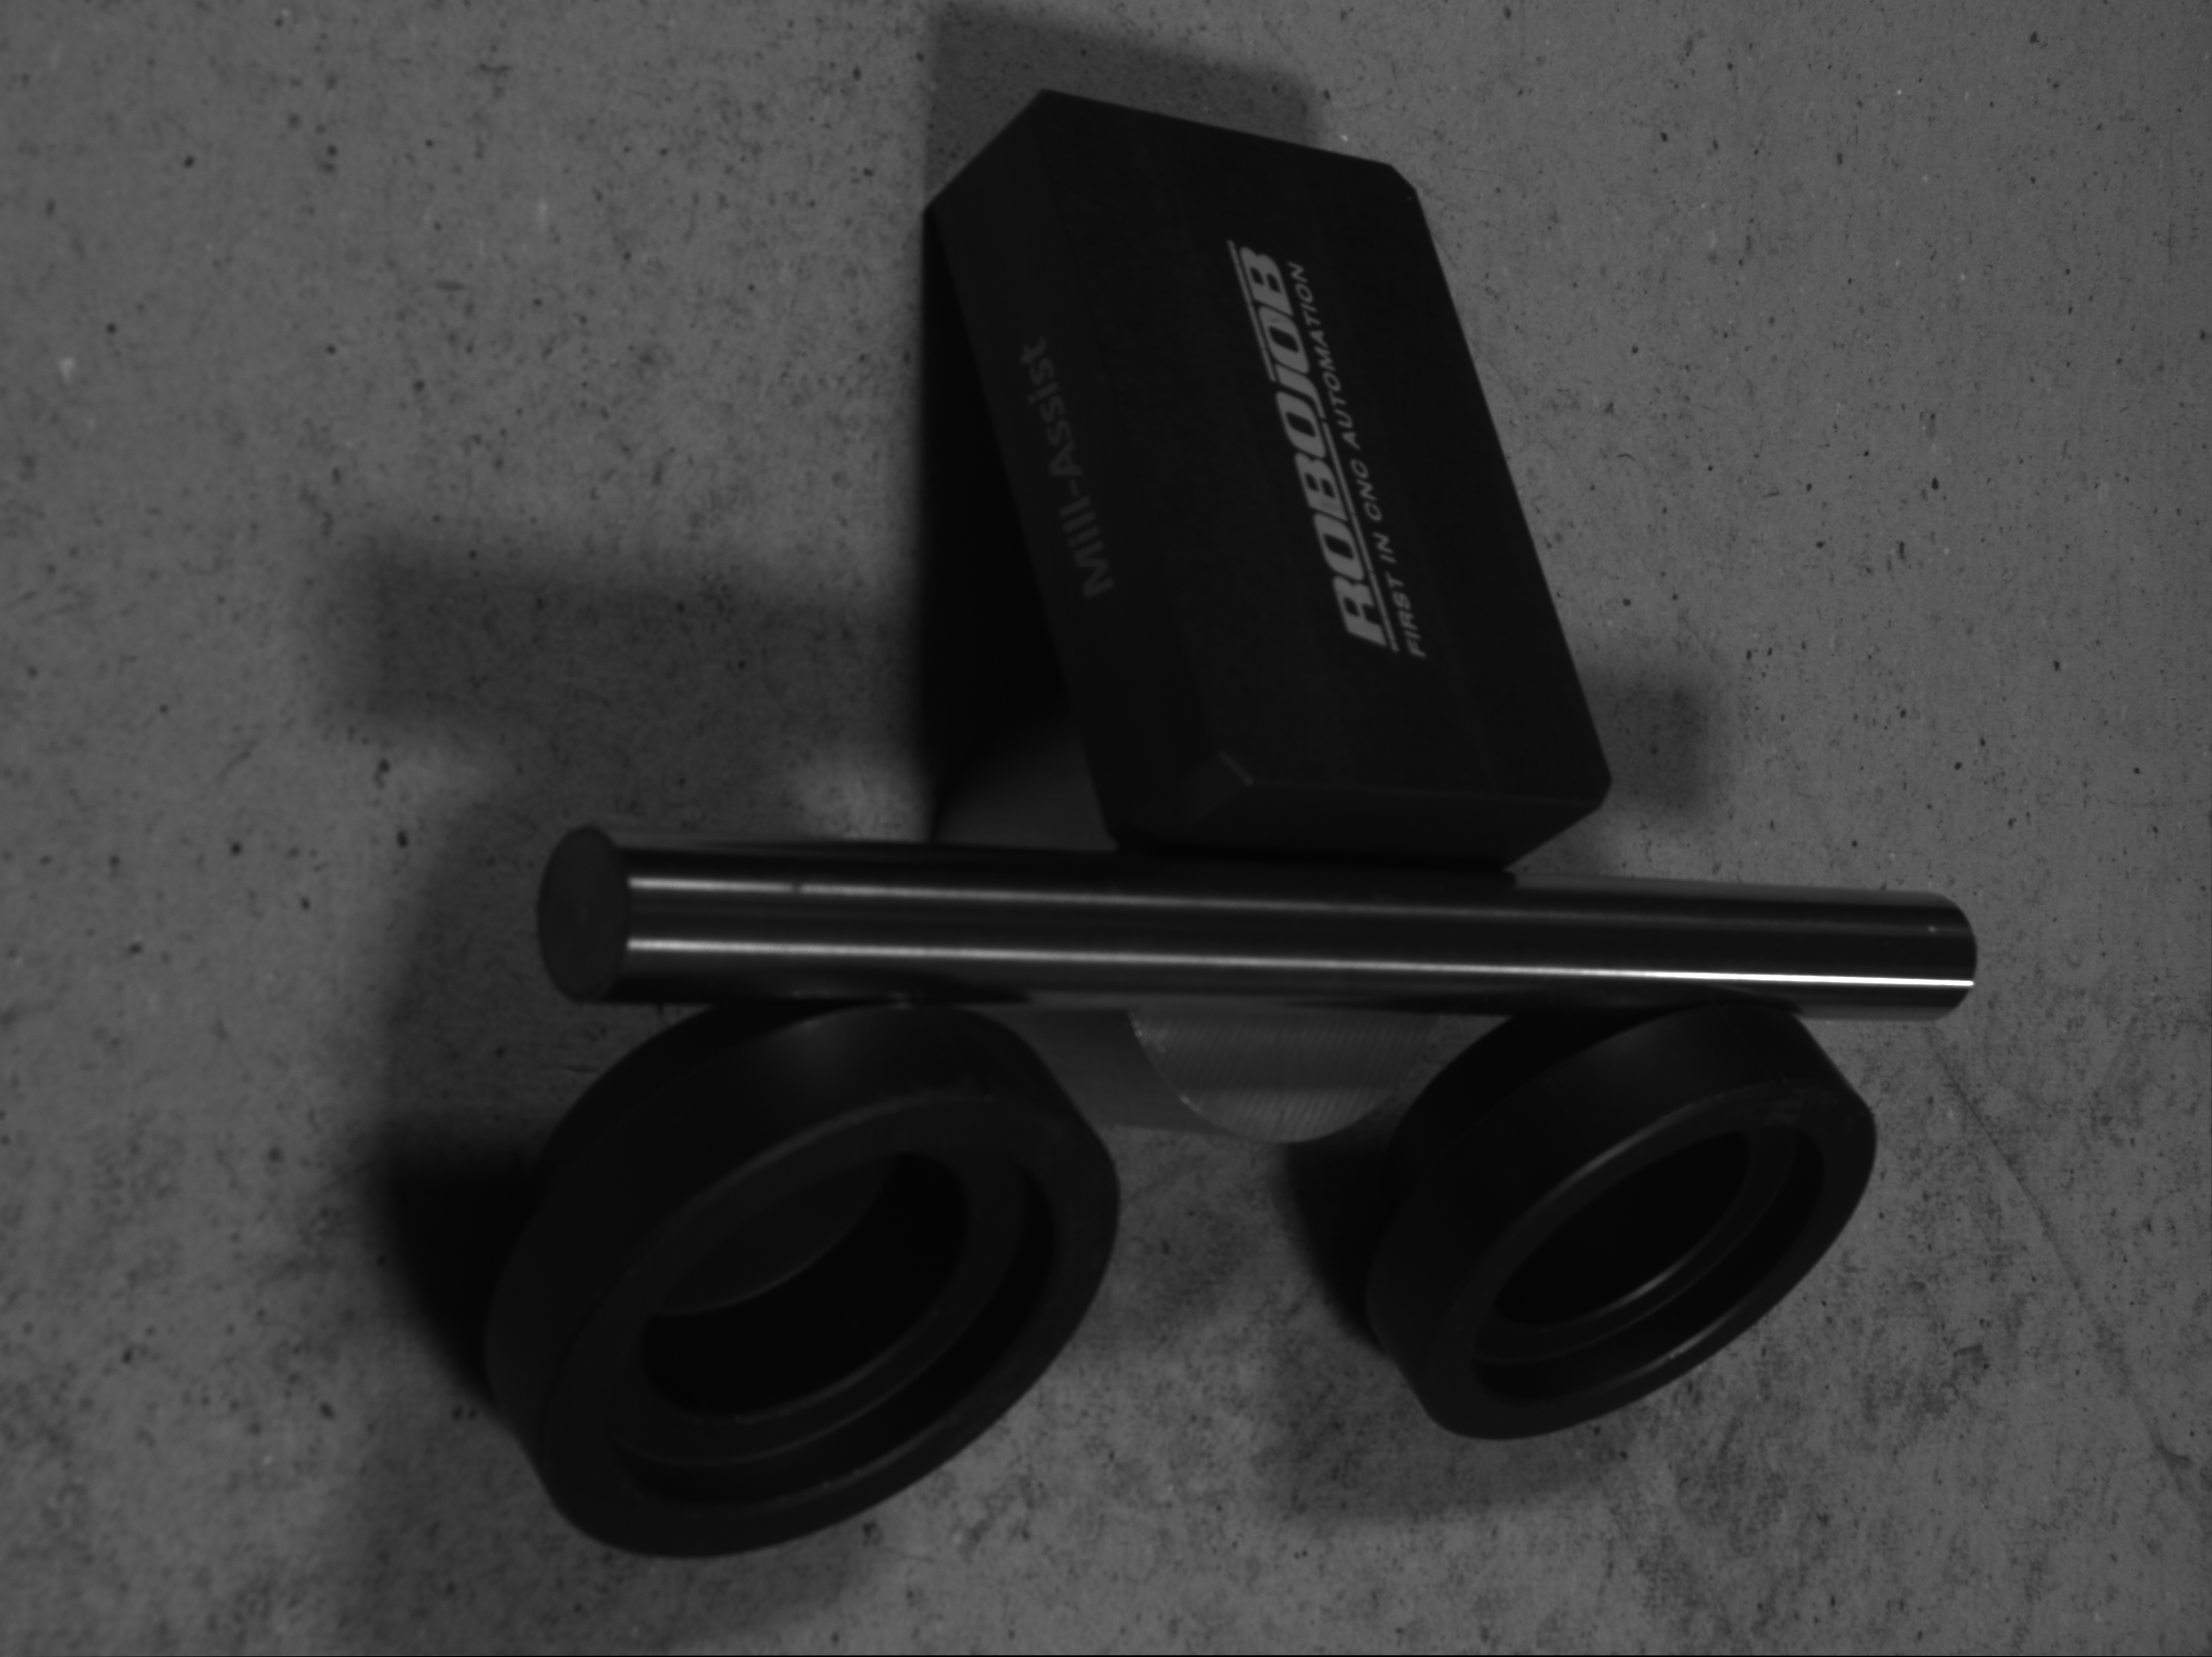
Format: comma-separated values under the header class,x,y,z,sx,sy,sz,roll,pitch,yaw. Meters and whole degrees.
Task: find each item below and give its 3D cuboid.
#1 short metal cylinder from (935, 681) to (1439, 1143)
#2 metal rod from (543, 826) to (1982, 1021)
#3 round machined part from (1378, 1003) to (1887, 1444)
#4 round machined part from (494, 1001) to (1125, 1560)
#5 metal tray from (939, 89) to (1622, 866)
class,x,y,z,sx,sy,sz,roll,pitch,yaw
short metal cylinder,0.016,0.013,0.635,0.080,0.050,0.080,0,90,-40
metal rod,0.043,0.018,0.609,0.301,0.025,0.025,3,88,-40
round machined part,0.093,0.067,0.681,0.098,0.042,0.098,-22,143,-17
round machined part,-0.049,0.063,0.565,0.098,0.042,0.098,-23,140,-21
metal tray,0.029,-0.058,0.624,0.090,0.030,0.130,3,62,-40
